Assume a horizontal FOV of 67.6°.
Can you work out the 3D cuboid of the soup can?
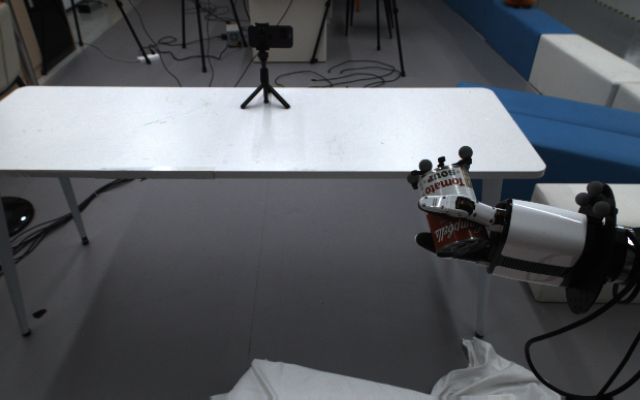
[{"bbox_3d":[0.170,0.013,0.620,0.067,0.067,0.101,-6,68,-12],"label":"soup can"}]
